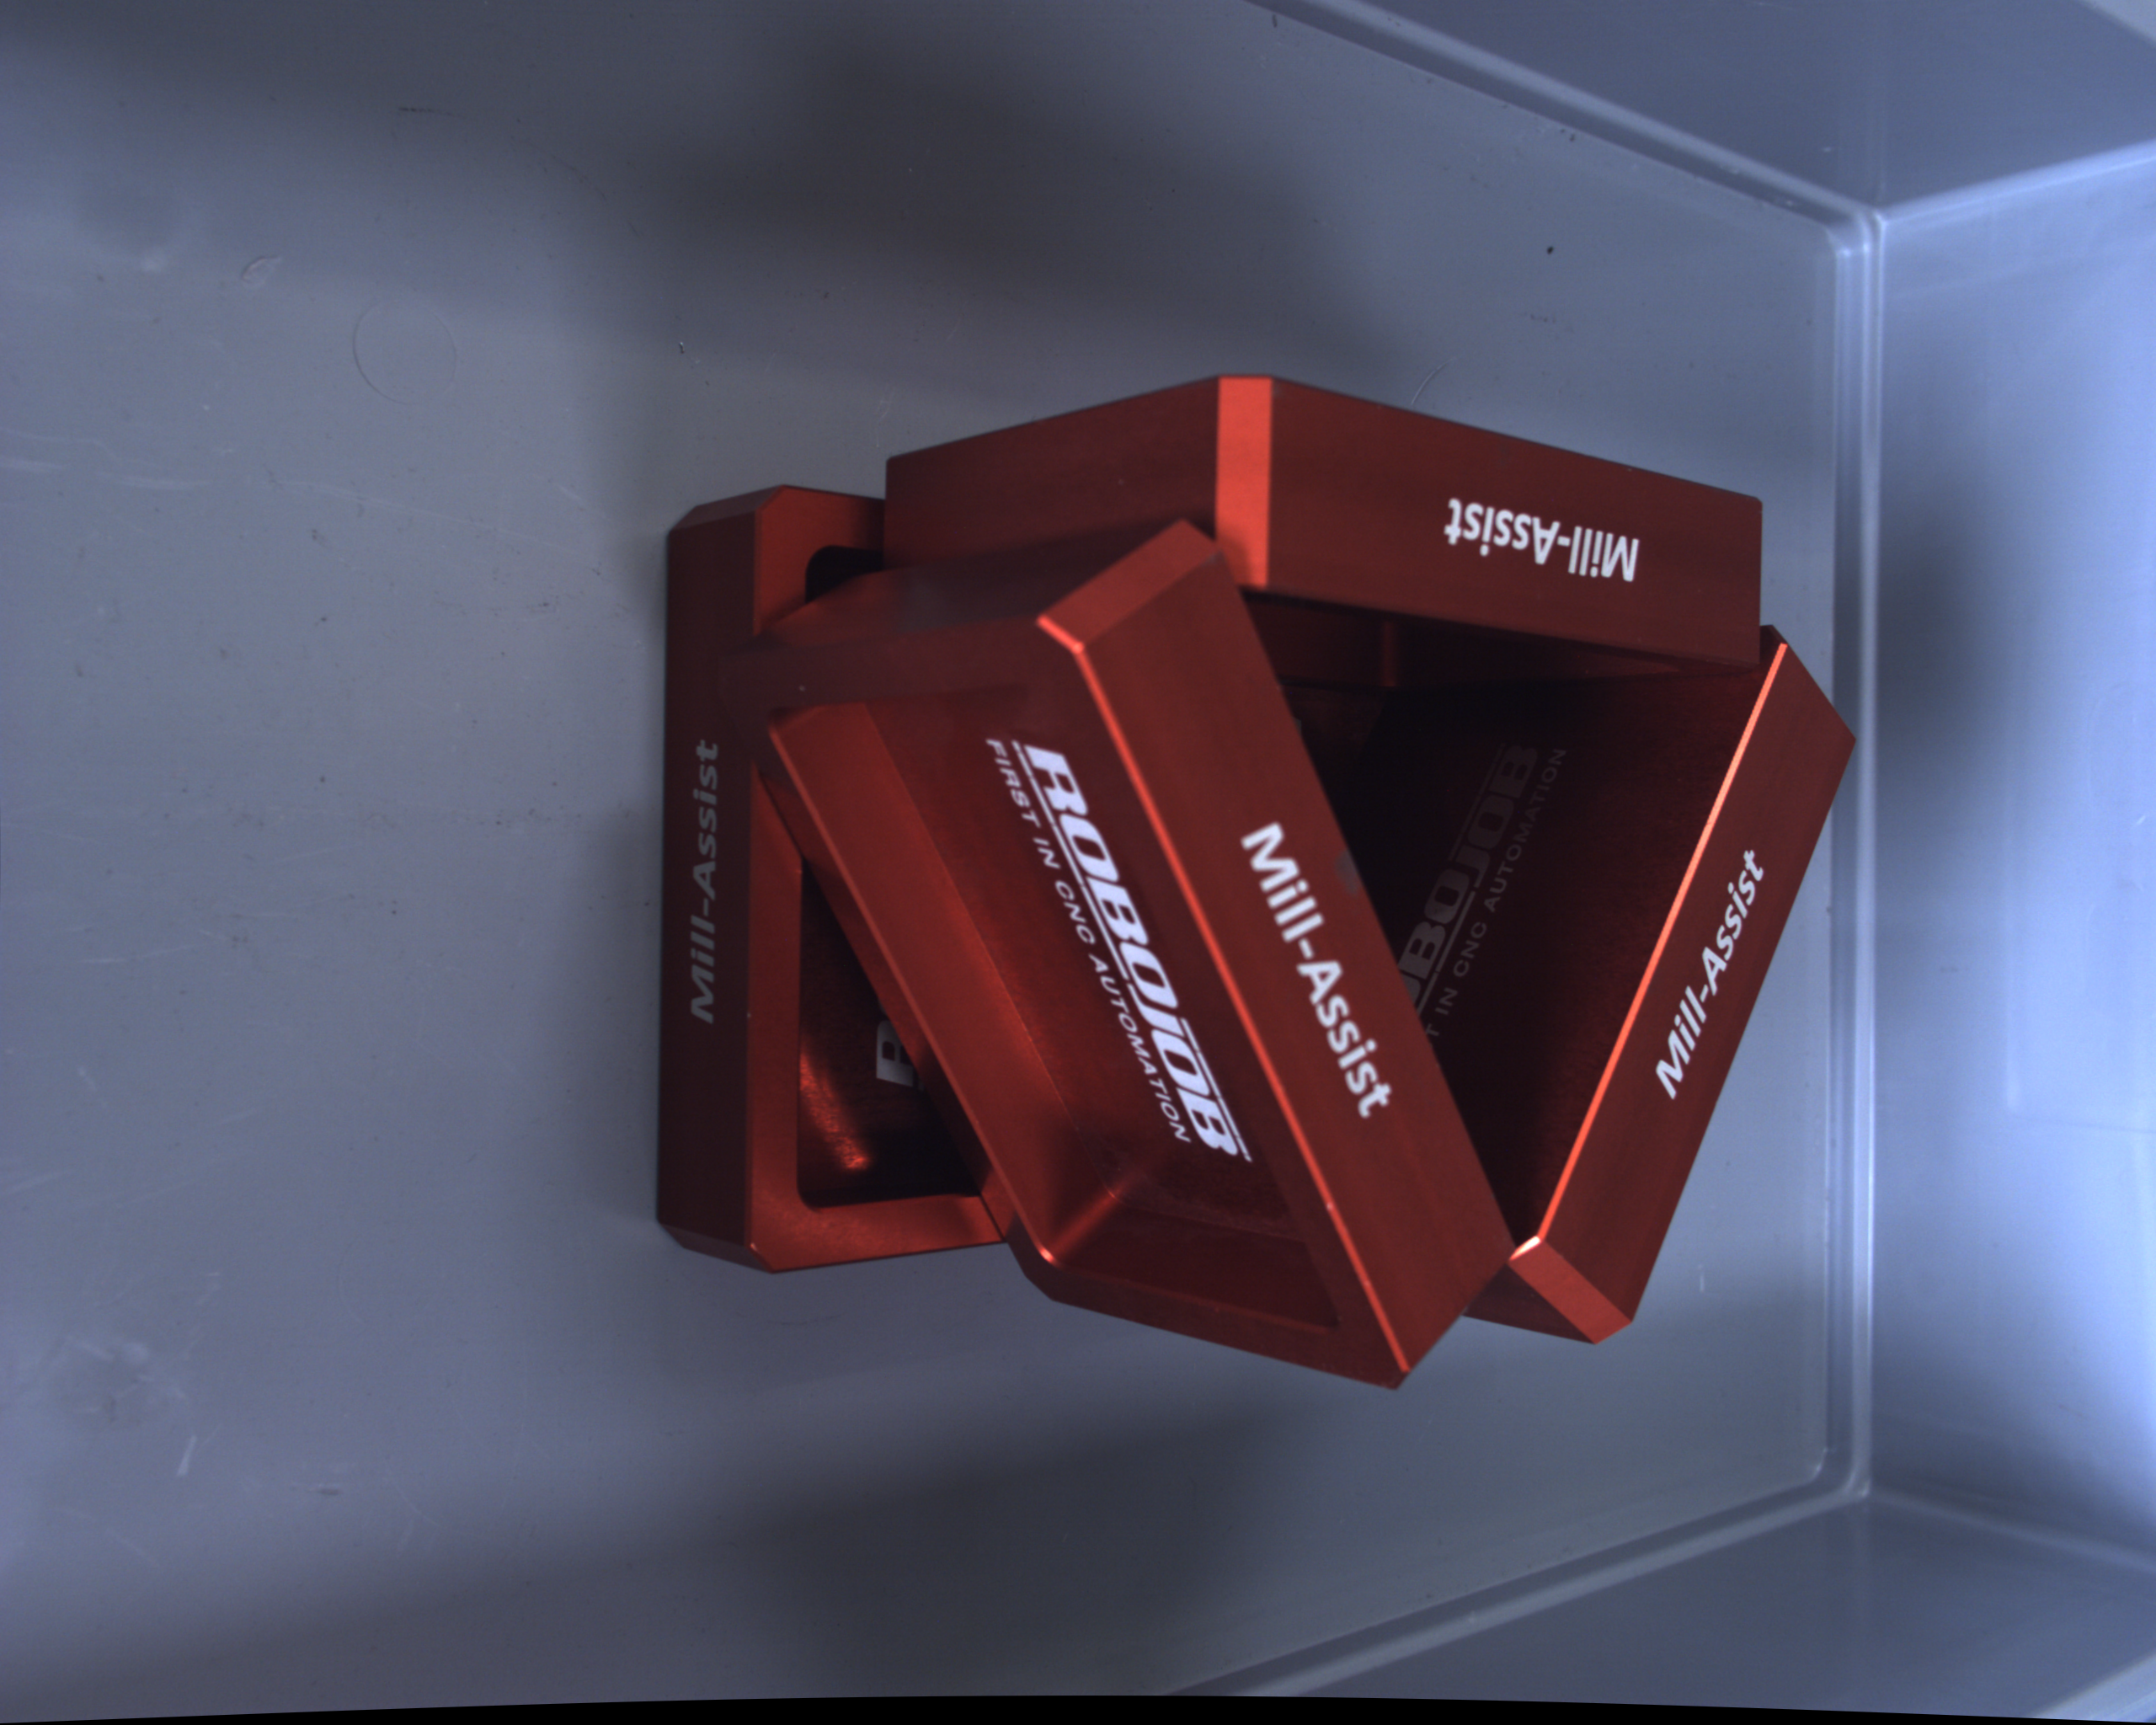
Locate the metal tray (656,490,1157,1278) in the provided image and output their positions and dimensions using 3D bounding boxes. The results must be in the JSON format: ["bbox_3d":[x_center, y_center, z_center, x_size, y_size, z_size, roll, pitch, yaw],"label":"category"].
[{"bbox_3d":[-0.029,0.004,0.378,0.091,0.030,0.129,1,89,-40],"label":"metal tray"}]

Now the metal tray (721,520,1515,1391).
[{"bbox_3d":[0.005,0.016,0.327,0.030,0.090,0.129,-38,114,-33],"label":"metal tray"}]

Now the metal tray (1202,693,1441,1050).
[{"bbox_3d":[0.042,0.006,0.437,0.091,0.030,0.129,2,88,-40],"label":"metal tray"}]

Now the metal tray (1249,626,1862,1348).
[{"bbox_3d":[0.079,0.018,0.388,0.030,0.090,0.130,43,64,-32],"label":"metal tray"}]

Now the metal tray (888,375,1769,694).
[{"bbox_3d":[0.044,-0.051,0.359,0.131,0.090,0.030,2,89,-40],"label":"metal tray"}]
